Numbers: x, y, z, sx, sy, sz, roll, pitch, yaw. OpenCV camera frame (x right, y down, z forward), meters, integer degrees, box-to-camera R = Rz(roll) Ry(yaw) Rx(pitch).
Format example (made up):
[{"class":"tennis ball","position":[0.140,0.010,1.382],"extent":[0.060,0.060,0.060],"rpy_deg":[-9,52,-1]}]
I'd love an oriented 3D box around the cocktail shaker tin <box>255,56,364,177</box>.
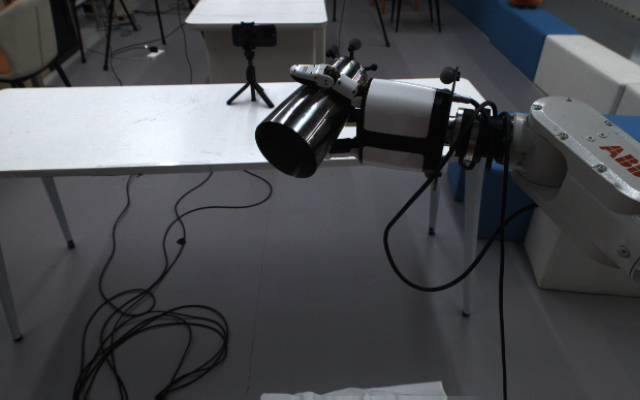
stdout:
[{"class":"cocktail shaker tin","position":[0.000,-0.124,0.647],"extent":[0.093,0.093,0.170],"rpy_deg":[19,55,22]}]
